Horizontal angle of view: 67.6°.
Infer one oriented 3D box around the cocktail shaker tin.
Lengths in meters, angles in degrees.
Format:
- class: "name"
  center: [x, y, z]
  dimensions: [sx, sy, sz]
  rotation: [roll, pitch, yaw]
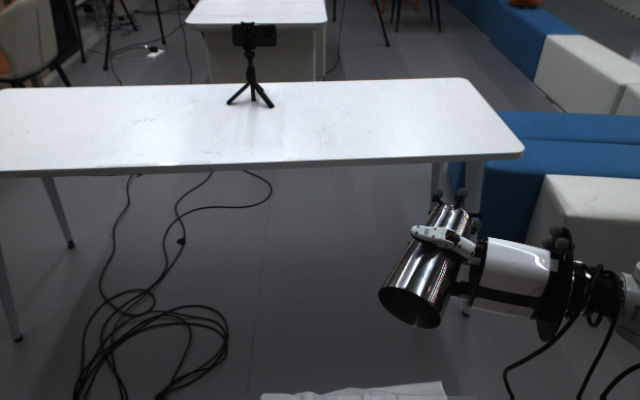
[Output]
- class: "cocktail shaker tin"
  center: [0.164, 0.083, 0.696]
  dimensions: [0.093, 0.093, 0.170]
  rotation: [19, 55, 22]
